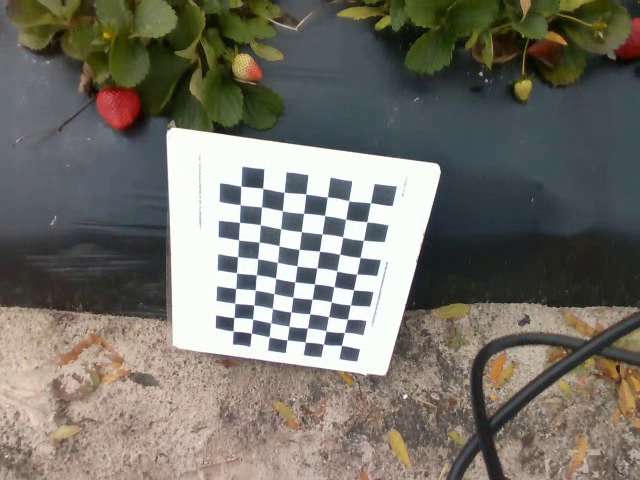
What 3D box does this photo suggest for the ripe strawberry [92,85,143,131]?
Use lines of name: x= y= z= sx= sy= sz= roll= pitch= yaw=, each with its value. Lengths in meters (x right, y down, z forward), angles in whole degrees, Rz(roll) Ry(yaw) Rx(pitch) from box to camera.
ripe strawberry: x=-0.171 y=-0.108 z=0.472 sx=0.037 sy=0.046 sz=0.036 roll=-29 pitch=-24 yaw=28
